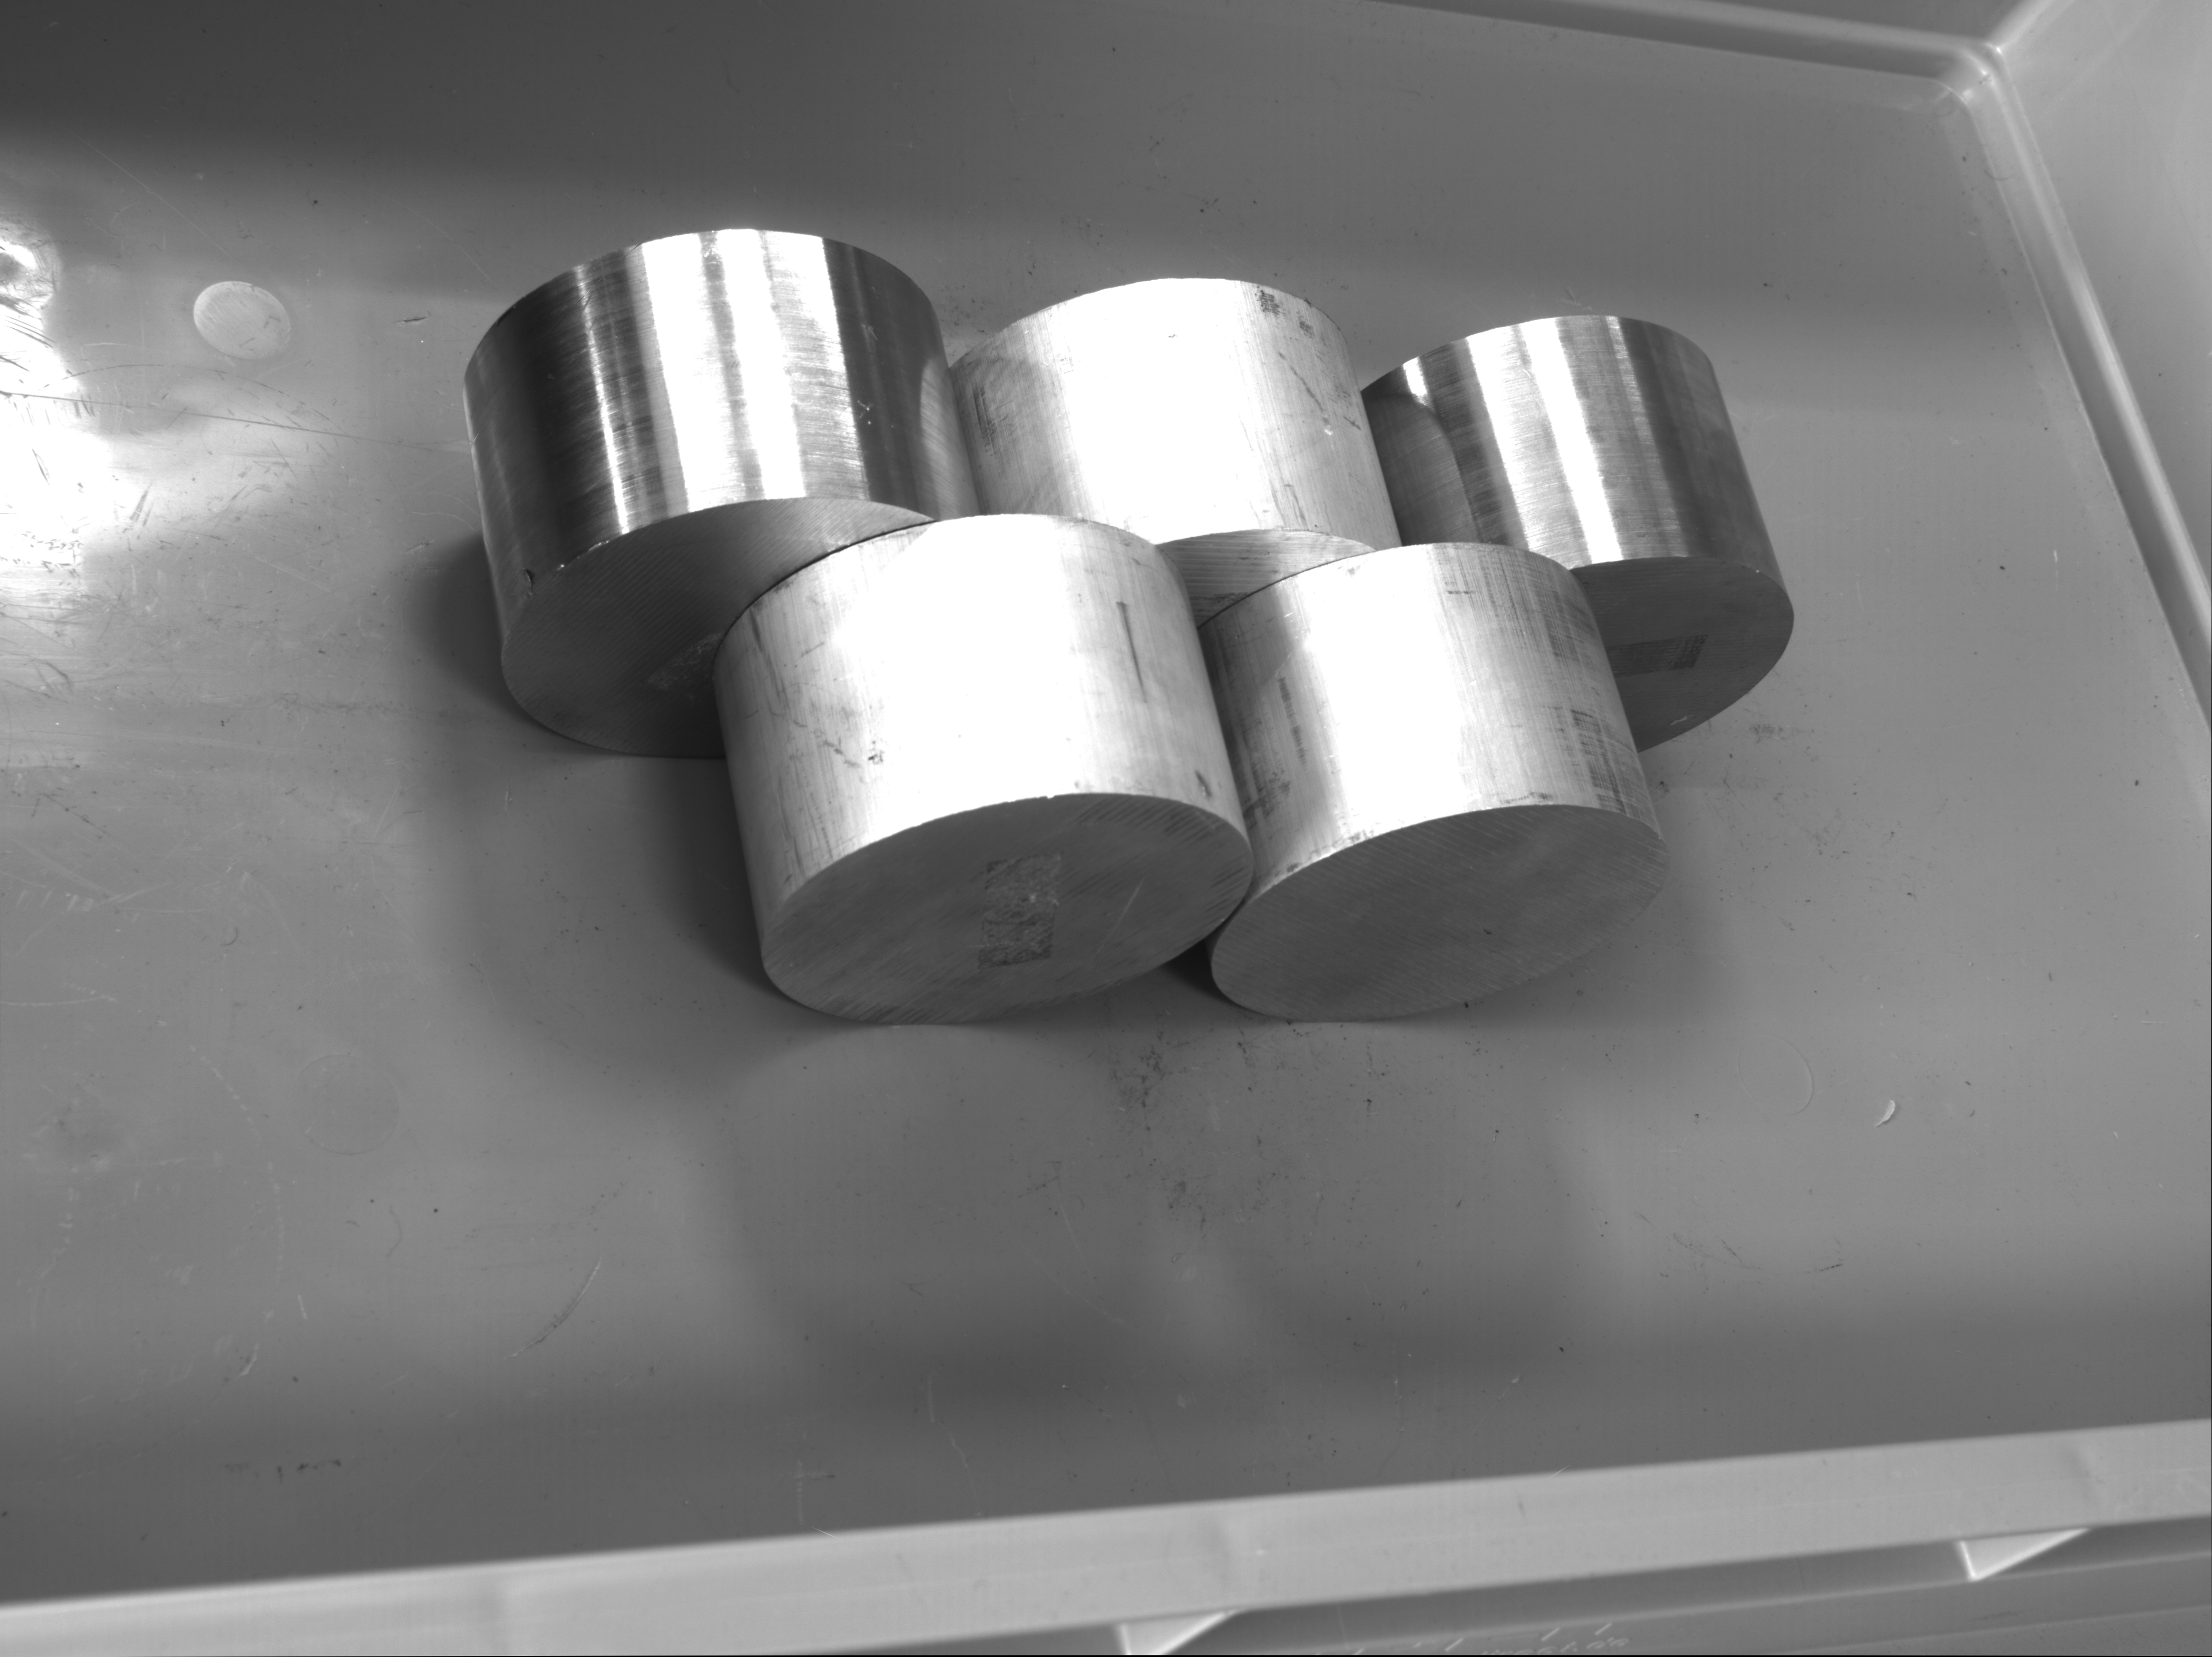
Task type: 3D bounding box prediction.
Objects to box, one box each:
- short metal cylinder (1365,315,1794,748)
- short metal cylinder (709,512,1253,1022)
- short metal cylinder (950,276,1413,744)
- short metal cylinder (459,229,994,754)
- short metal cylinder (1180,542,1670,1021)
[{"bbox_3d":[0.081,-0.051,0.676,0.080,0.080,0.050,2,61,-27],"label":"short metal cylinder"},{"bbox_3d":[-0.021,-0.009,0.596,0.080,0.080,0.050,1,61,-28],"label":"short metal cylinder"},{"bbox_3d":[0.009,-0.052,0.638,0.080,0.080,0.050,1,61,-28],"label":"short metal cylinder"},{"bbox_3d":[-0.062,-0.054,0.601,0.080,0.080,0.050,1,61,-28],"label":"short metal cylinder"},{"bbox_3d":[0.052,-0.007,0.634,0.080,0.080,0.050,1,61,-28],"label":"short metal cylinder"}]
